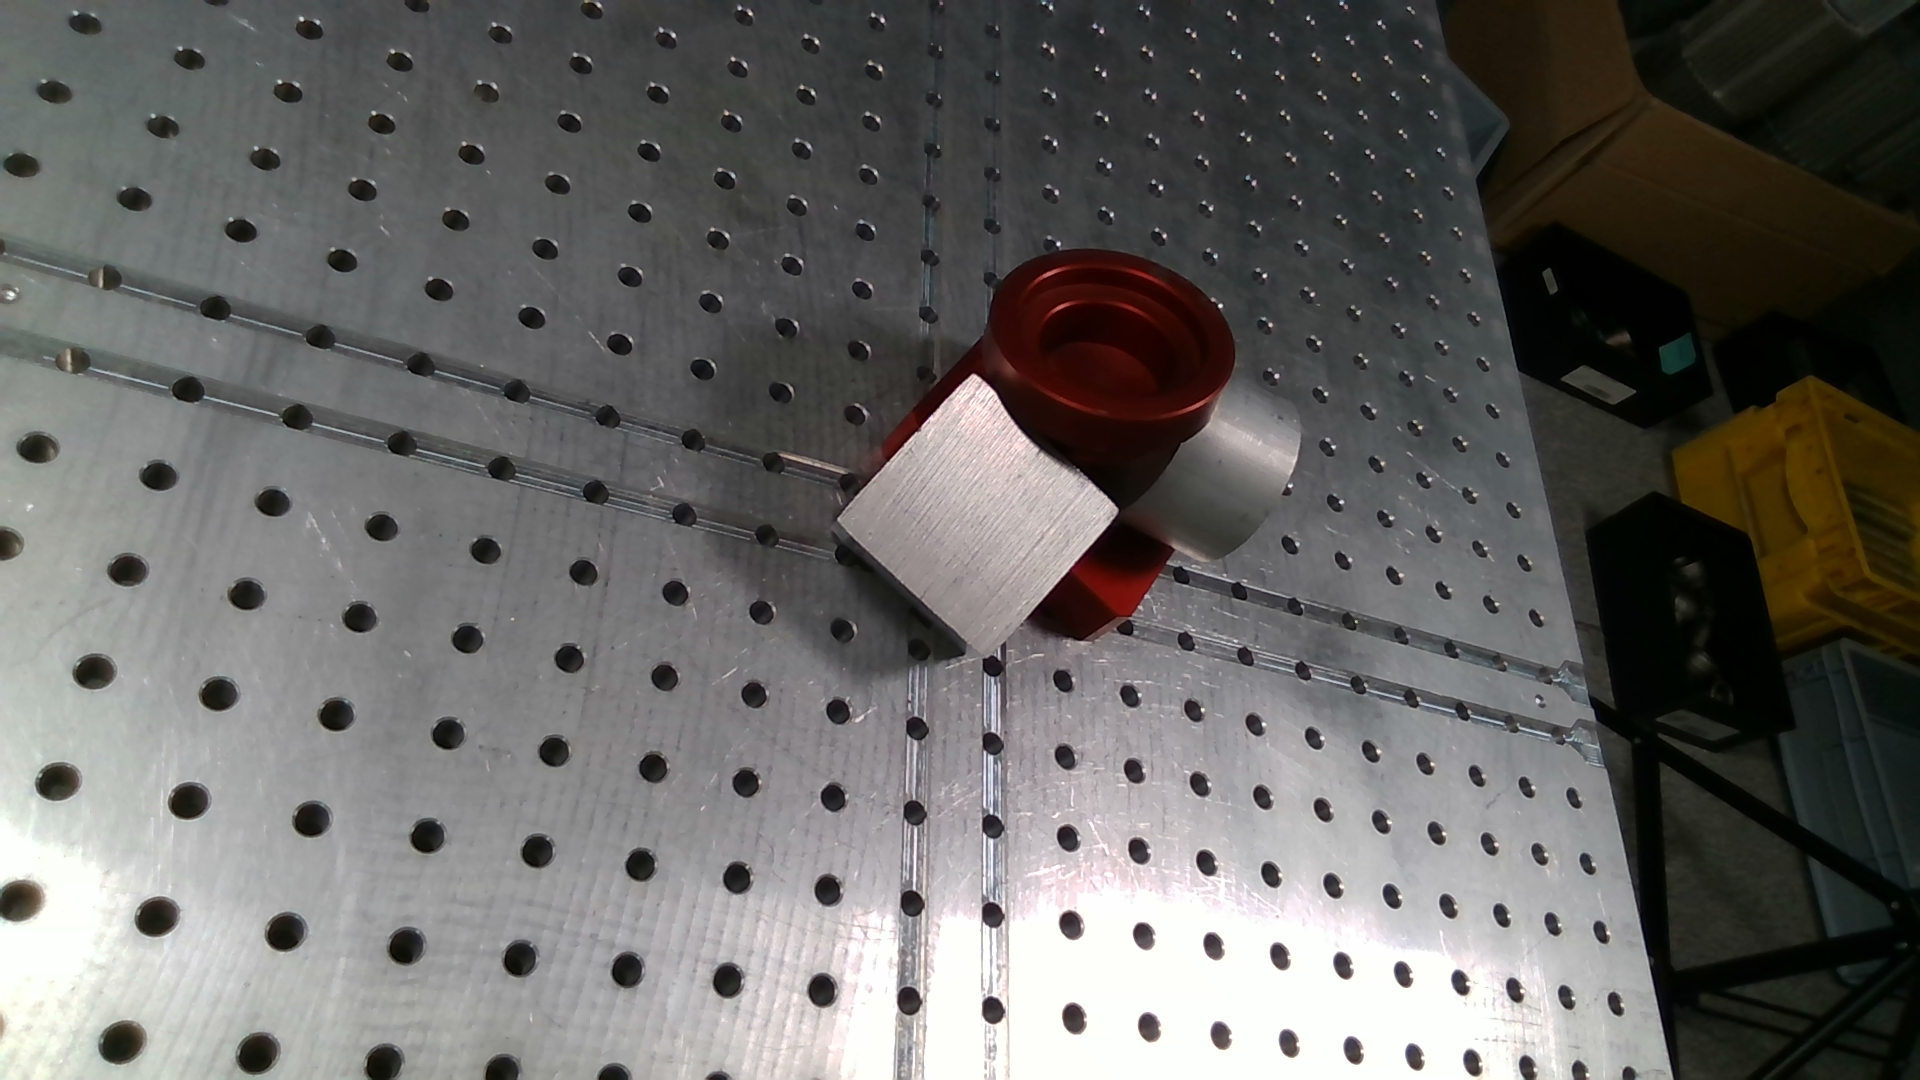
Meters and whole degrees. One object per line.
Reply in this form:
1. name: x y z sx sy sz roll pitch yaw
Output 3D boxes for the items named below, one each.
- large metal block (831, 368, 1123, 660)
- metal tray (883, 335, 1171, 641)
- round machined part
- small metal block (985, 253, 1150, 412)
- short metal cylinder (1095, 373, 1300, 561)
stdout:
1. large metal block: 0.004 -0.009 0.557 0.080 0.050 0.080 43 82 -5
2. metal tray: 0.039 -0.029 0.626 0.130 0.030 0.090 43 51 -5
3. round machined part: 0.057 -0.070 0.555 0.098 0.042 0.098 5 50 -6
4. small metal block: 0.047 -0.091 0.610 0.050 0.050 0.025 31 53 -14
5. short metal cylinder: 0.101 -0.037 0.597 0.050 0.080 0.080 26 54 -17
